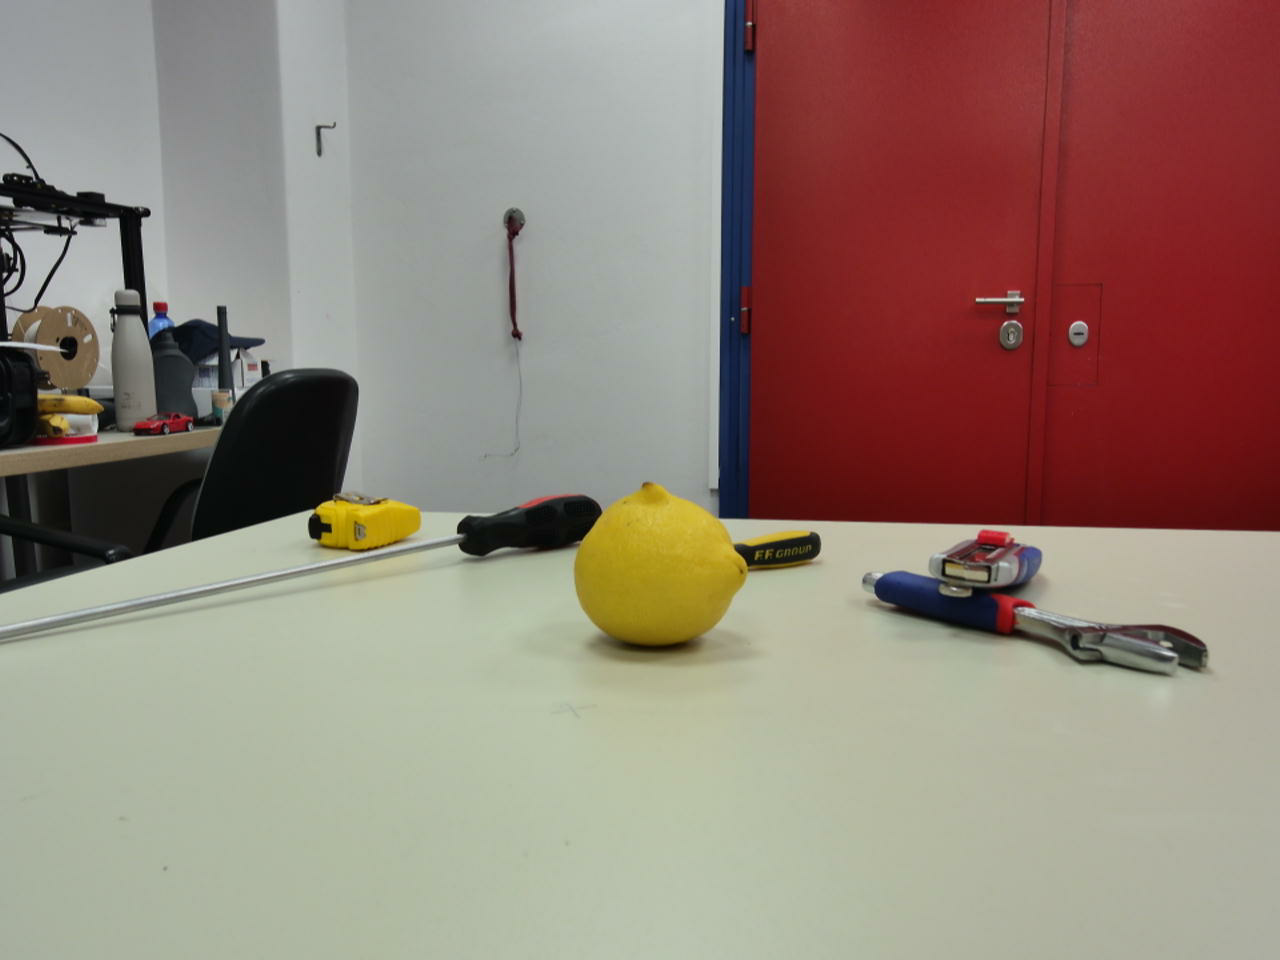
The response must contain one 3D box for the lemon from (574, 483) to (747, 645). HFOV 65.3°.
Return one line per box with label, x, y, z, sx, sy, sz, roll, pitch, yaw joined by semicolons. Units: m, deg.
lemon;0.007;0.037;0.443;0.070;0.071;0.071;-2;4;-22
